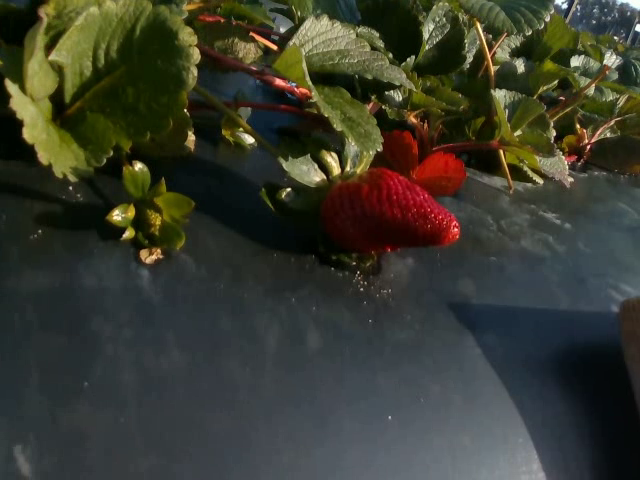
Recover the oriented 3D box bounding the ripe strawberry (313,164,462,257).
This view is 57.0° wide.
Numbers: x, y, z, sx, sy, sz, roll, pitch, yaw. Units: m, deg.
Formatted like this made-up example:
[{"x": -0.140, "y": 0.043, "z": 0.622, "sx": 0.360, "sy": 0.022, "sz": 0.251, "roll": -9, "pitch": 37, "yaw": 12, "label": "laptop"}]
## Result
[{"x": 0.027, "y": -0.009, "z": 0.214, "sx": 0.056, "sy": 0.041, "sz": 0.041, "roll": 18, "pitch": 51, "yaw": 32, "label": "ripe strawberry"}]
